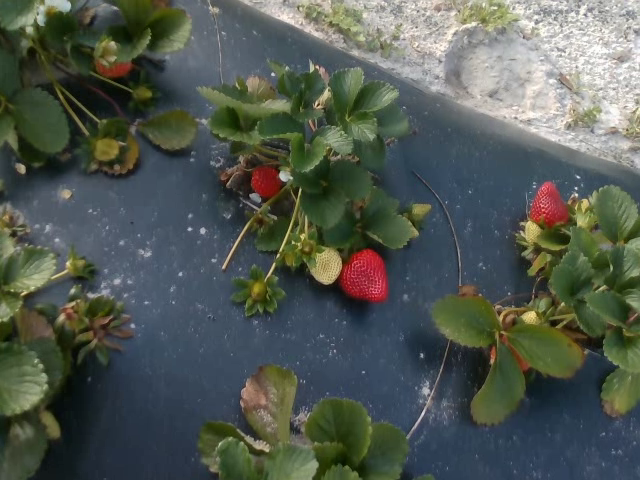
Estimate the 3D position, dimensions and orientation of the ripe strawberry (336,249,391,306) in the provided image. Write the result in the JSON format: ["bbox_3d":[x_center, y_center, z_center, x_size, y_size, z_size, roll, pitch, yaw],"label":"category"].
[{"bbox_3d":[0.045,0.041,0.576,0.048,0.051,0.055,38,16,-40],"label":"ripe strawberry"}]
